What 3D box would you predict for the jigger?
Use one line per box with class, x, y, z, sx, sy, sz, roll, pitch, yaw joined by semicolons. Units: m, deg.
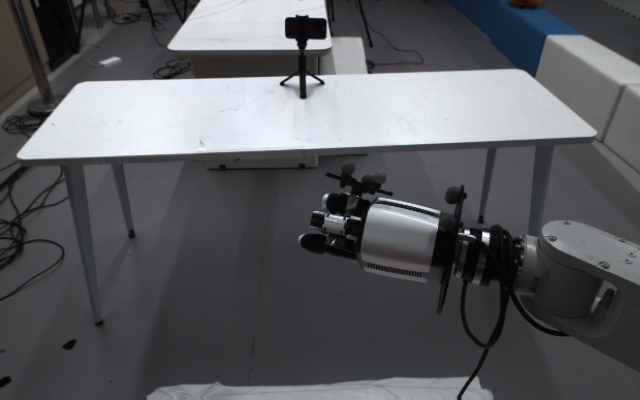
jigger;0.035;0.028;0.611;0.043;0.071;0.043;19;-6;2
